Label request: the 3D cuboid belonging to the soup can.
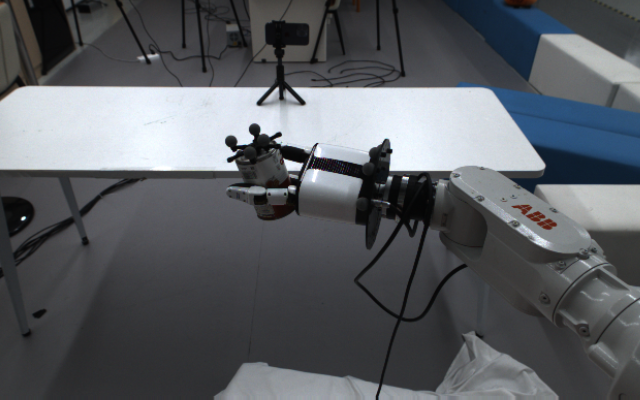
[{"bbox_3d":[-0.077,-0.028,0.717,0.067,0.101,0.067,-14,31,8],"label":"soup can"}]
